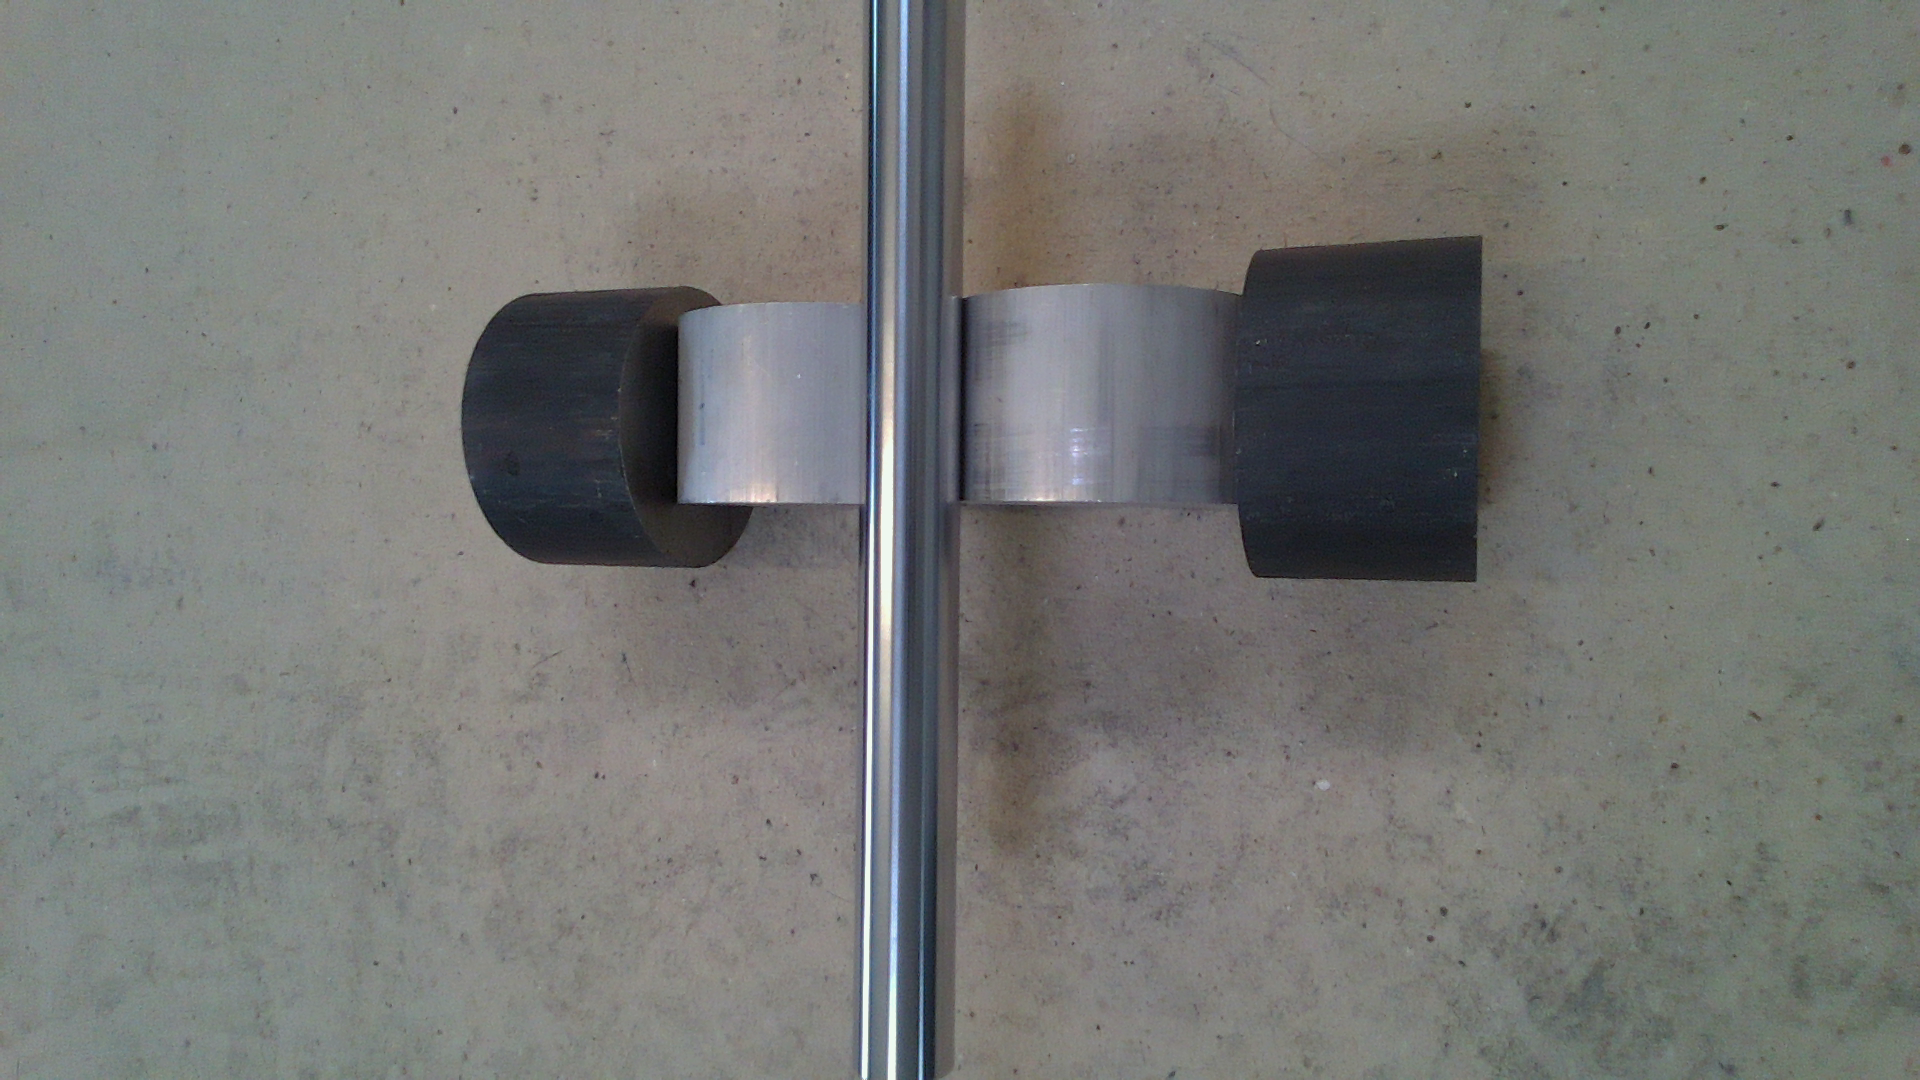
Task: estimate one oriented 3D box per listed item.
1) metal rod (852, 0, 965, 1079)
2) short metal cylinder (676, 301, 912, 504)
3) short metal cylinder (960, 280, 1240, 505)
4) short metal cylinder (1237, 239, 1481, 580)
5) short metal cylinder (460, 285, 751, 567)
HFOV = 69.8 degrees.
[{"bbox_3d":[-0.012,-0.022,0.335,0.025,0.025,0.300,1,90,20],"label":"metal rod"},{"bbox_3d":[-0.038,-0.034,0.381,0.080,0.080,0.050,1,90,20],"label":"short metal cylinder"},{"bbox_3d":[0.036,-0.034,0.353,0.080,0.080,0.050,1,90,20],"label":"short metal cylinder"},{"bbox_3d":[0.098,-0.030,0.331,0.050,0.080,0.080,1,90,20],"label":"short metal cylinder"},{"bbox_3d":[-0.098,-0.033,0.402,0.050,0.080,0.080,1,90,20],"label":"short metal cylinder"}]
